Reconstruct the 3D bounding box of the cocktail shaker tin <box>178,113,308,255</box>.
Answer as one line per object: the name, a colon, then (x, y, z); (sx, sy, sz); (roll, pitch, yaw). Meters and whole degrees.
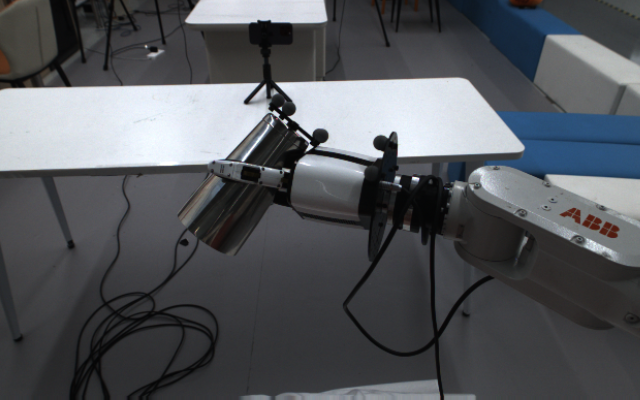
cocktail shaker tin: (-0.091, -0.027, 0.617); (0.170, 0.093, 0.093); (-50, 46, 4)
